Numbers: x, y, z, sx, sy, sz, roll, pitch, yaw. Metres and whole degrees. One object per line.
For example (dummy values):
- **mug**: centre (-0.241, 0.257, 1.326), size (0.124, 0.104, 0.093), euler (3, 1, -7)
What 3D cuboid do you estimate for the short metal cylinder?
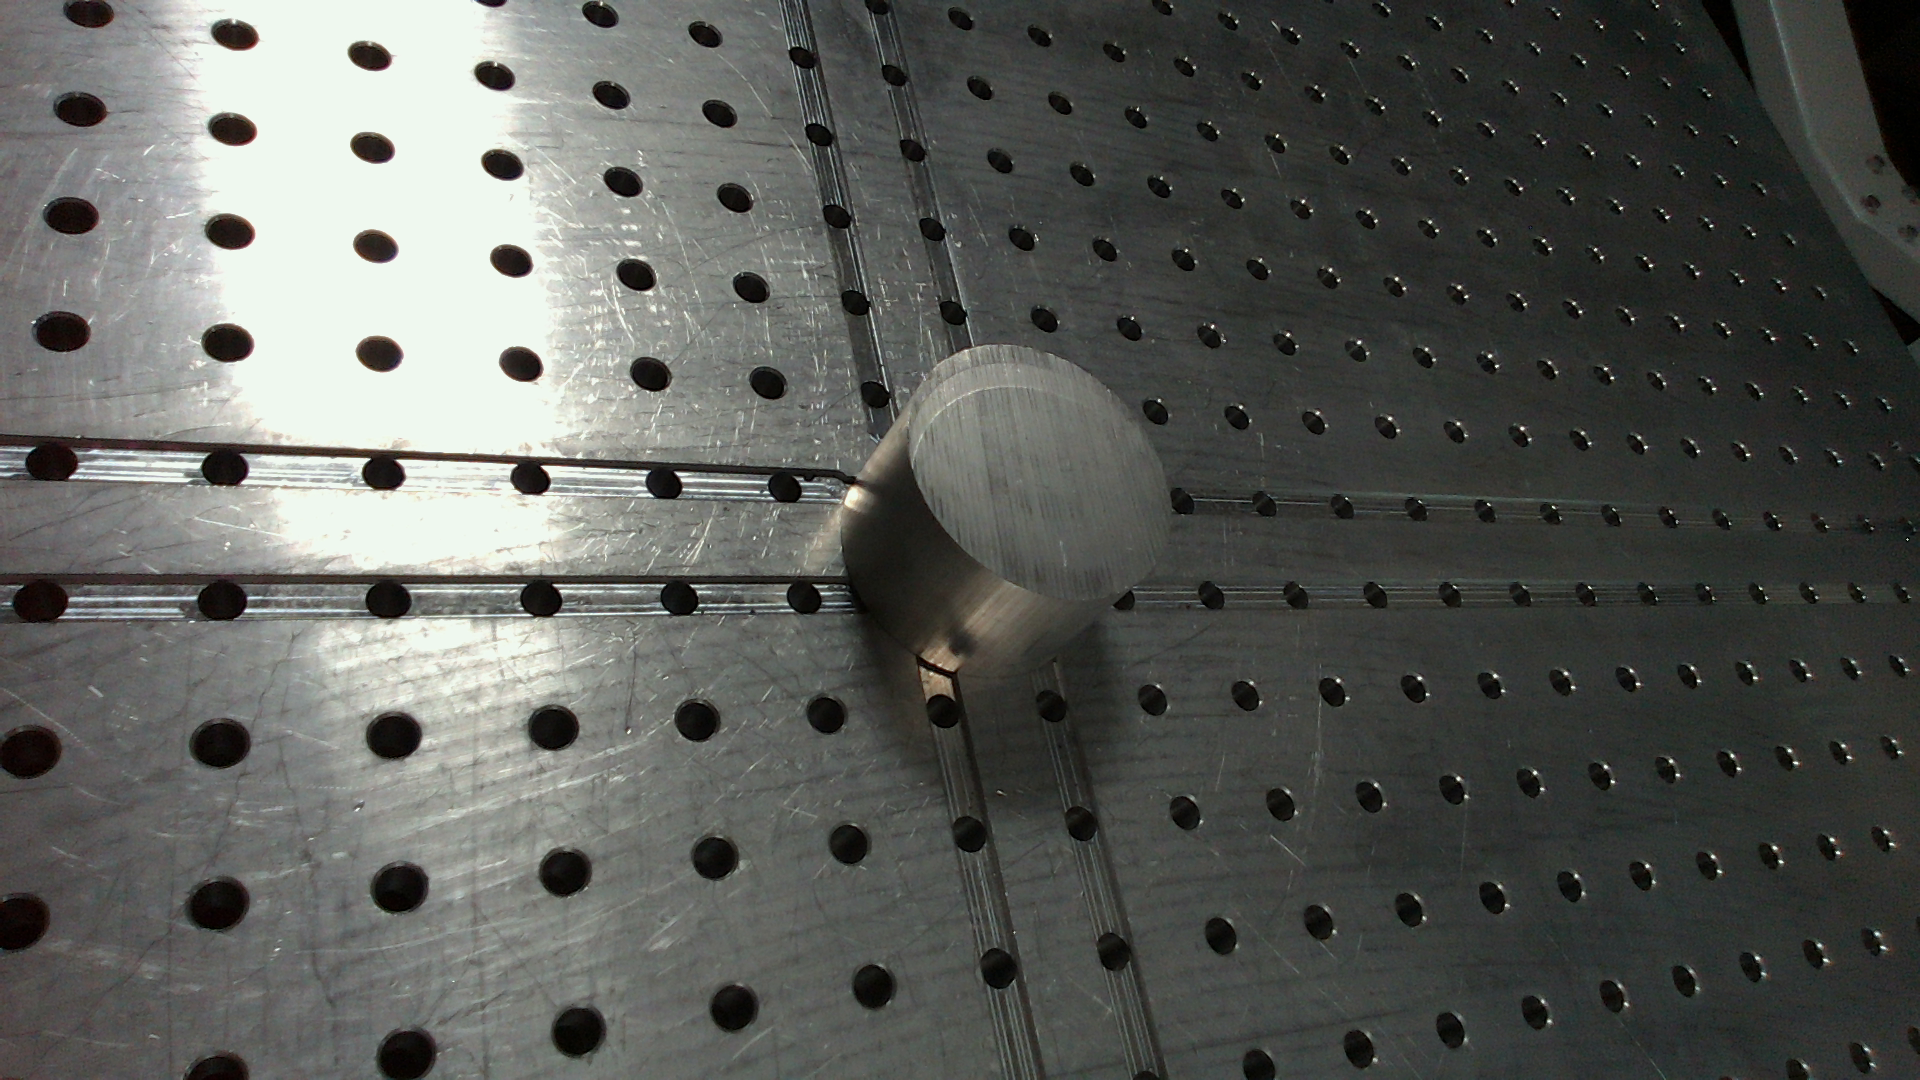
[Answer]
- **short metal cylinder**: centre (0.012, -0.008, 0.388), size (0.080, 0.050, 0.080), euler (14, 56, -21)
